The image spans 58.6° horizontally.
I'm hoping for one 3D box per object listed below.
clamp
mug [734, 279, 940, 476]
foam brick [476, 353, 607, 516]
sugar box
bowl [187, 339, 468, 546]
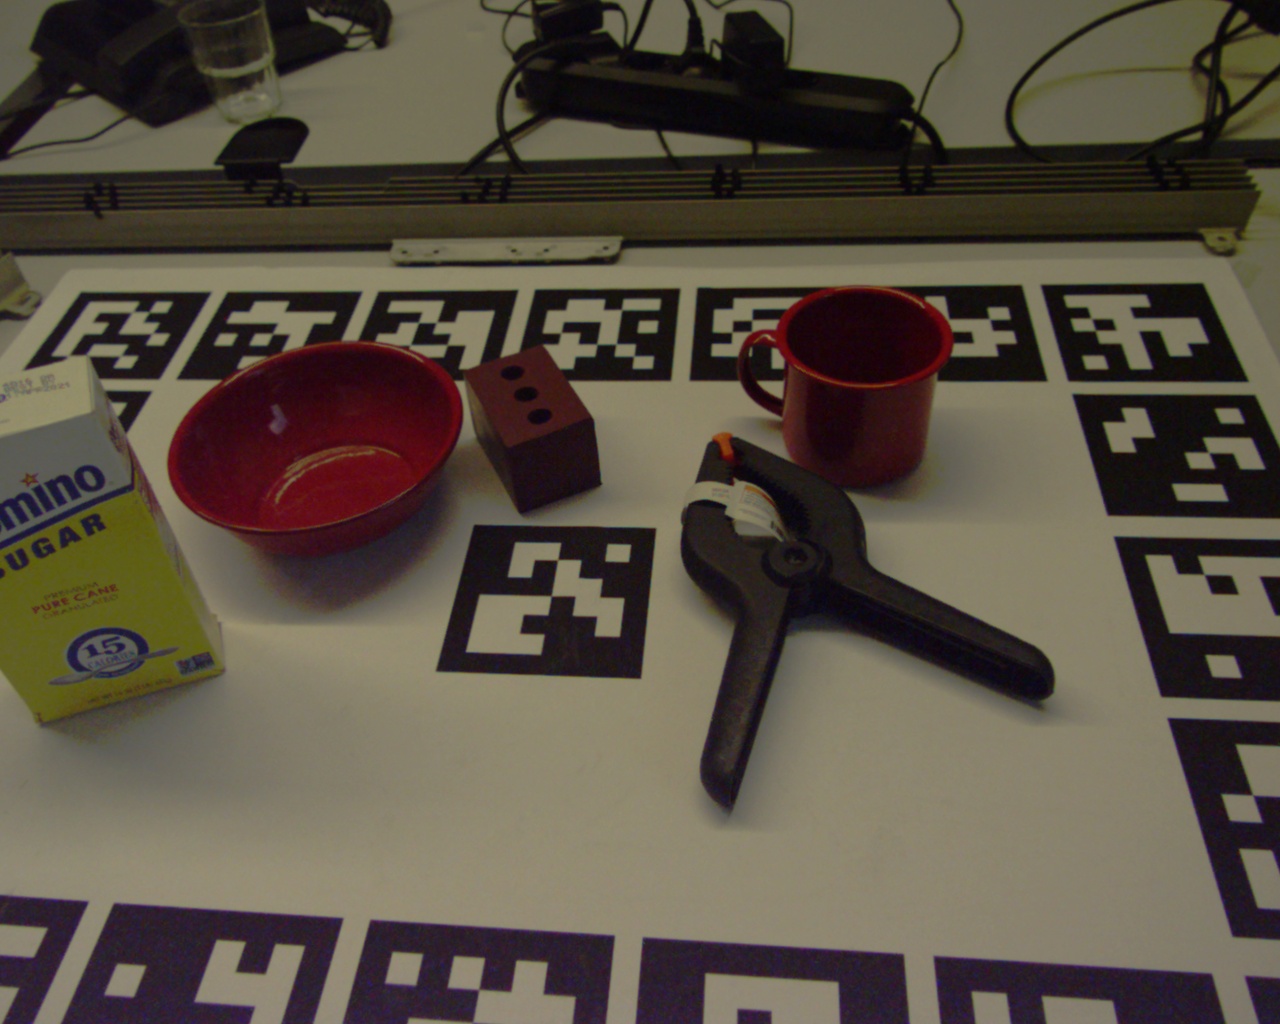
[{"bbox_3d":[0.071,0.027,0.599,0.165,0.036,0.205,-18,49,-9],"label":"clamp"},{"bbox_3d":[0.109,-0.080,0.669,0.118,0.081,0.093,22,53,20],"label":"mug"},{"bbox_3d":[-0.060,-0.046,0.686,0.052,0.051,0.079,-21,49,-12],"label":"foam brick"},{"bbox_3d":[-0.263,0.024,0.549,0.092,0.175,0.046,-17,50,-13],"label":"sugar box"},{"bbox_3d":[-0.178,-0.032,0.675,0.162,0.055,0.162,-3,47,2],"label":"bowl"}]
